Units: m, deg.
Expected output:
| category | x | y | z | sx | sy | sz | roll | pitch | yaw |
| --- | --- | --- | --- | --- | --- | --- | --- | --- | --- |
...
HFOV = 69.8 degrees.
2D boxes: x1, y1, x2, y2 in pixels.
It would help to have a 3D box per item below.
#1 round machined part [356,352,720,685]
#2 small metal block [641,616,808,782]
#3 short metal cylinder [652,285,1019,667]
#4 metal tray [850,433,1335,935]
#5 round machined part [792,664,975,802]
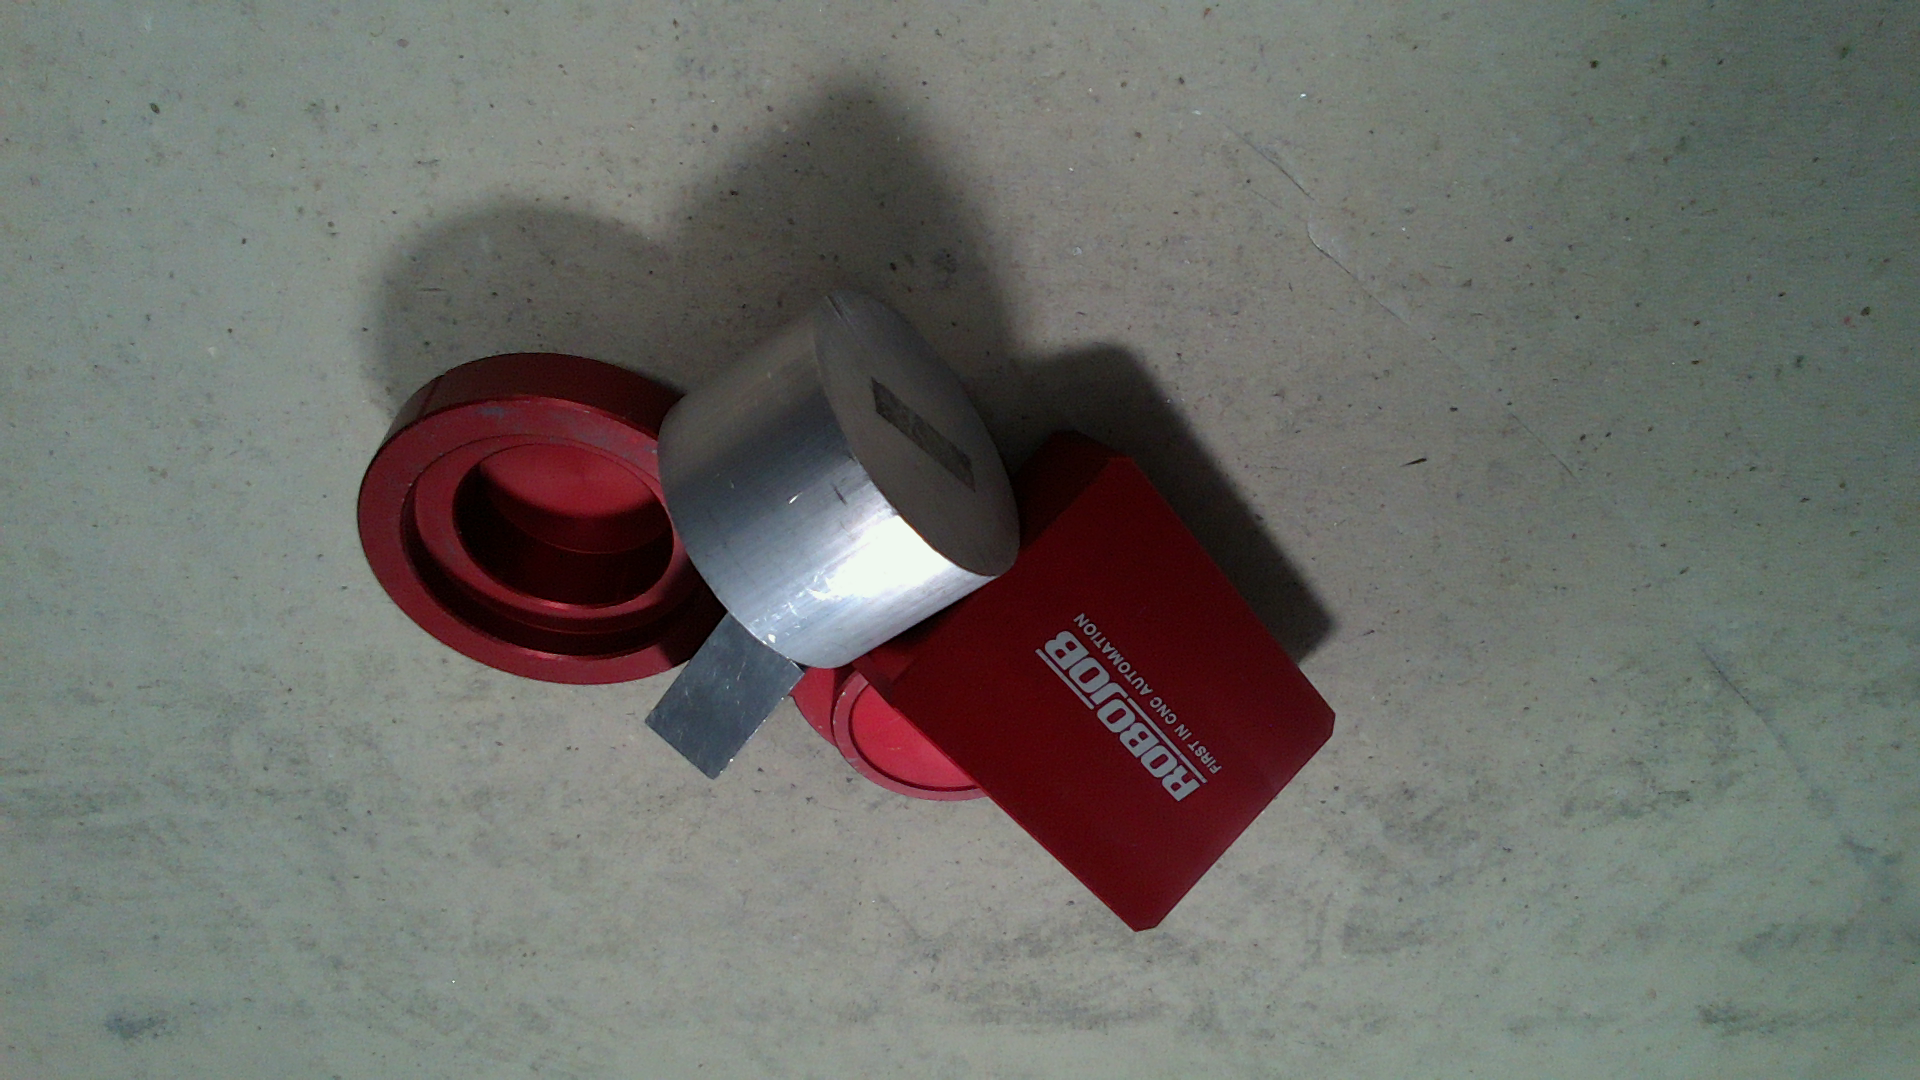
| category | x | y | z | sx | sy | sz | roll | pitch | yaw |
| --- | --- | --- | --- | --- | --- | --- | --- | --- | --- |
| round machined part | -0.105 | -0.009 | 0.371 | 0.098 | 0.042 | 0.098 | 0 | 130 | 0 |
| small metal block | -0.054 | 0.031 | 0.377 | 0.025 | 0.050 | 0.050 | 40 | 122 | 0 |
| short metal cylinder | -0.029 | -0.016 | 0.342 | 0.050 | 0.080 | 0.080 | -31 | 124 | 23 |
| metal tray | 0.042 | 0.044 | 0.396 | 0.090 | 0.030 | 0.130 | -46 | 122 | -5 |
| round machined part | -0.004 | 0.041 | 0.414 | 0.098 | 0.042 | 0.098 | 0 | 130 | 0 |
